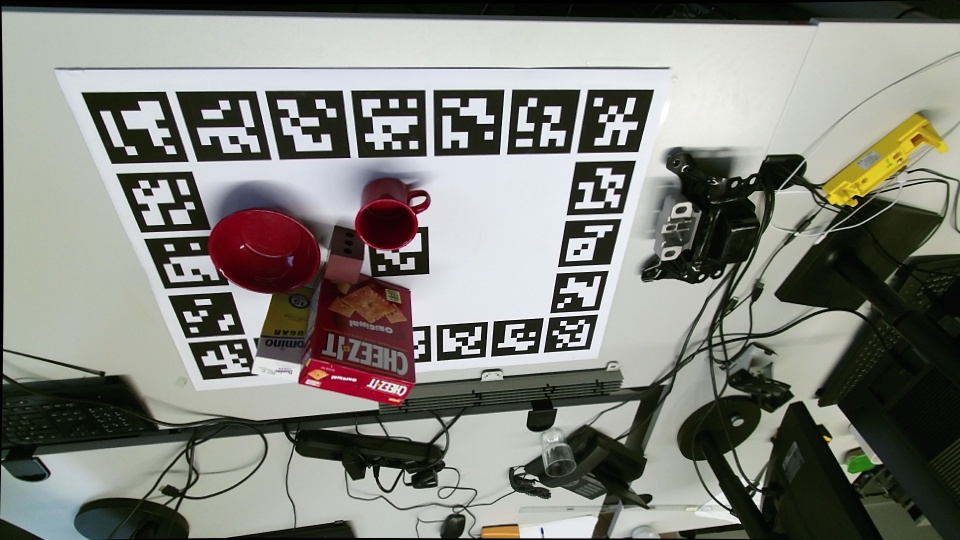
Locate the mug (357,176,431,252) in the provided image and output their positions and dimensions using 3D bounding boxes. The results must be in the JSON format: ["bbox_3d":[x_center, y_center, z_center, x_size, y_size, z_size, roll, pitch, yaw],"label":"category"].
[{"bbox_3d":[-0.132,-0.090,0.812,0.117,0.081,0.093,-12,136,-4],"label":"mug"}]

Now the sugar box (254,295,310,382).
[{"bbox_3d":[-0.308,0.113,0.877,0.093,0.175,0.045,14,123,-21],"label":"sugar box"}]

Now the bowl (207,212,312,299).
[{"bbox_3d":[-0.338,-0.032,0.825,0.162,0.055,0.162,-5,127,-7],"label":"bowl"}]

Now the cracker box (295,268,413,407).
[{"bbox_3d":[-0.195,0.105,0.871,0.165,0.212,0.072,22,122,-24],"label":"cracker box"}]

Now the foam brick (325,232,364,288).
[{"bbox_3d":[-0.218,-0.017,0.864,0.053,0.078,0.051,9,125,-18],"label":"foam brick"}]
